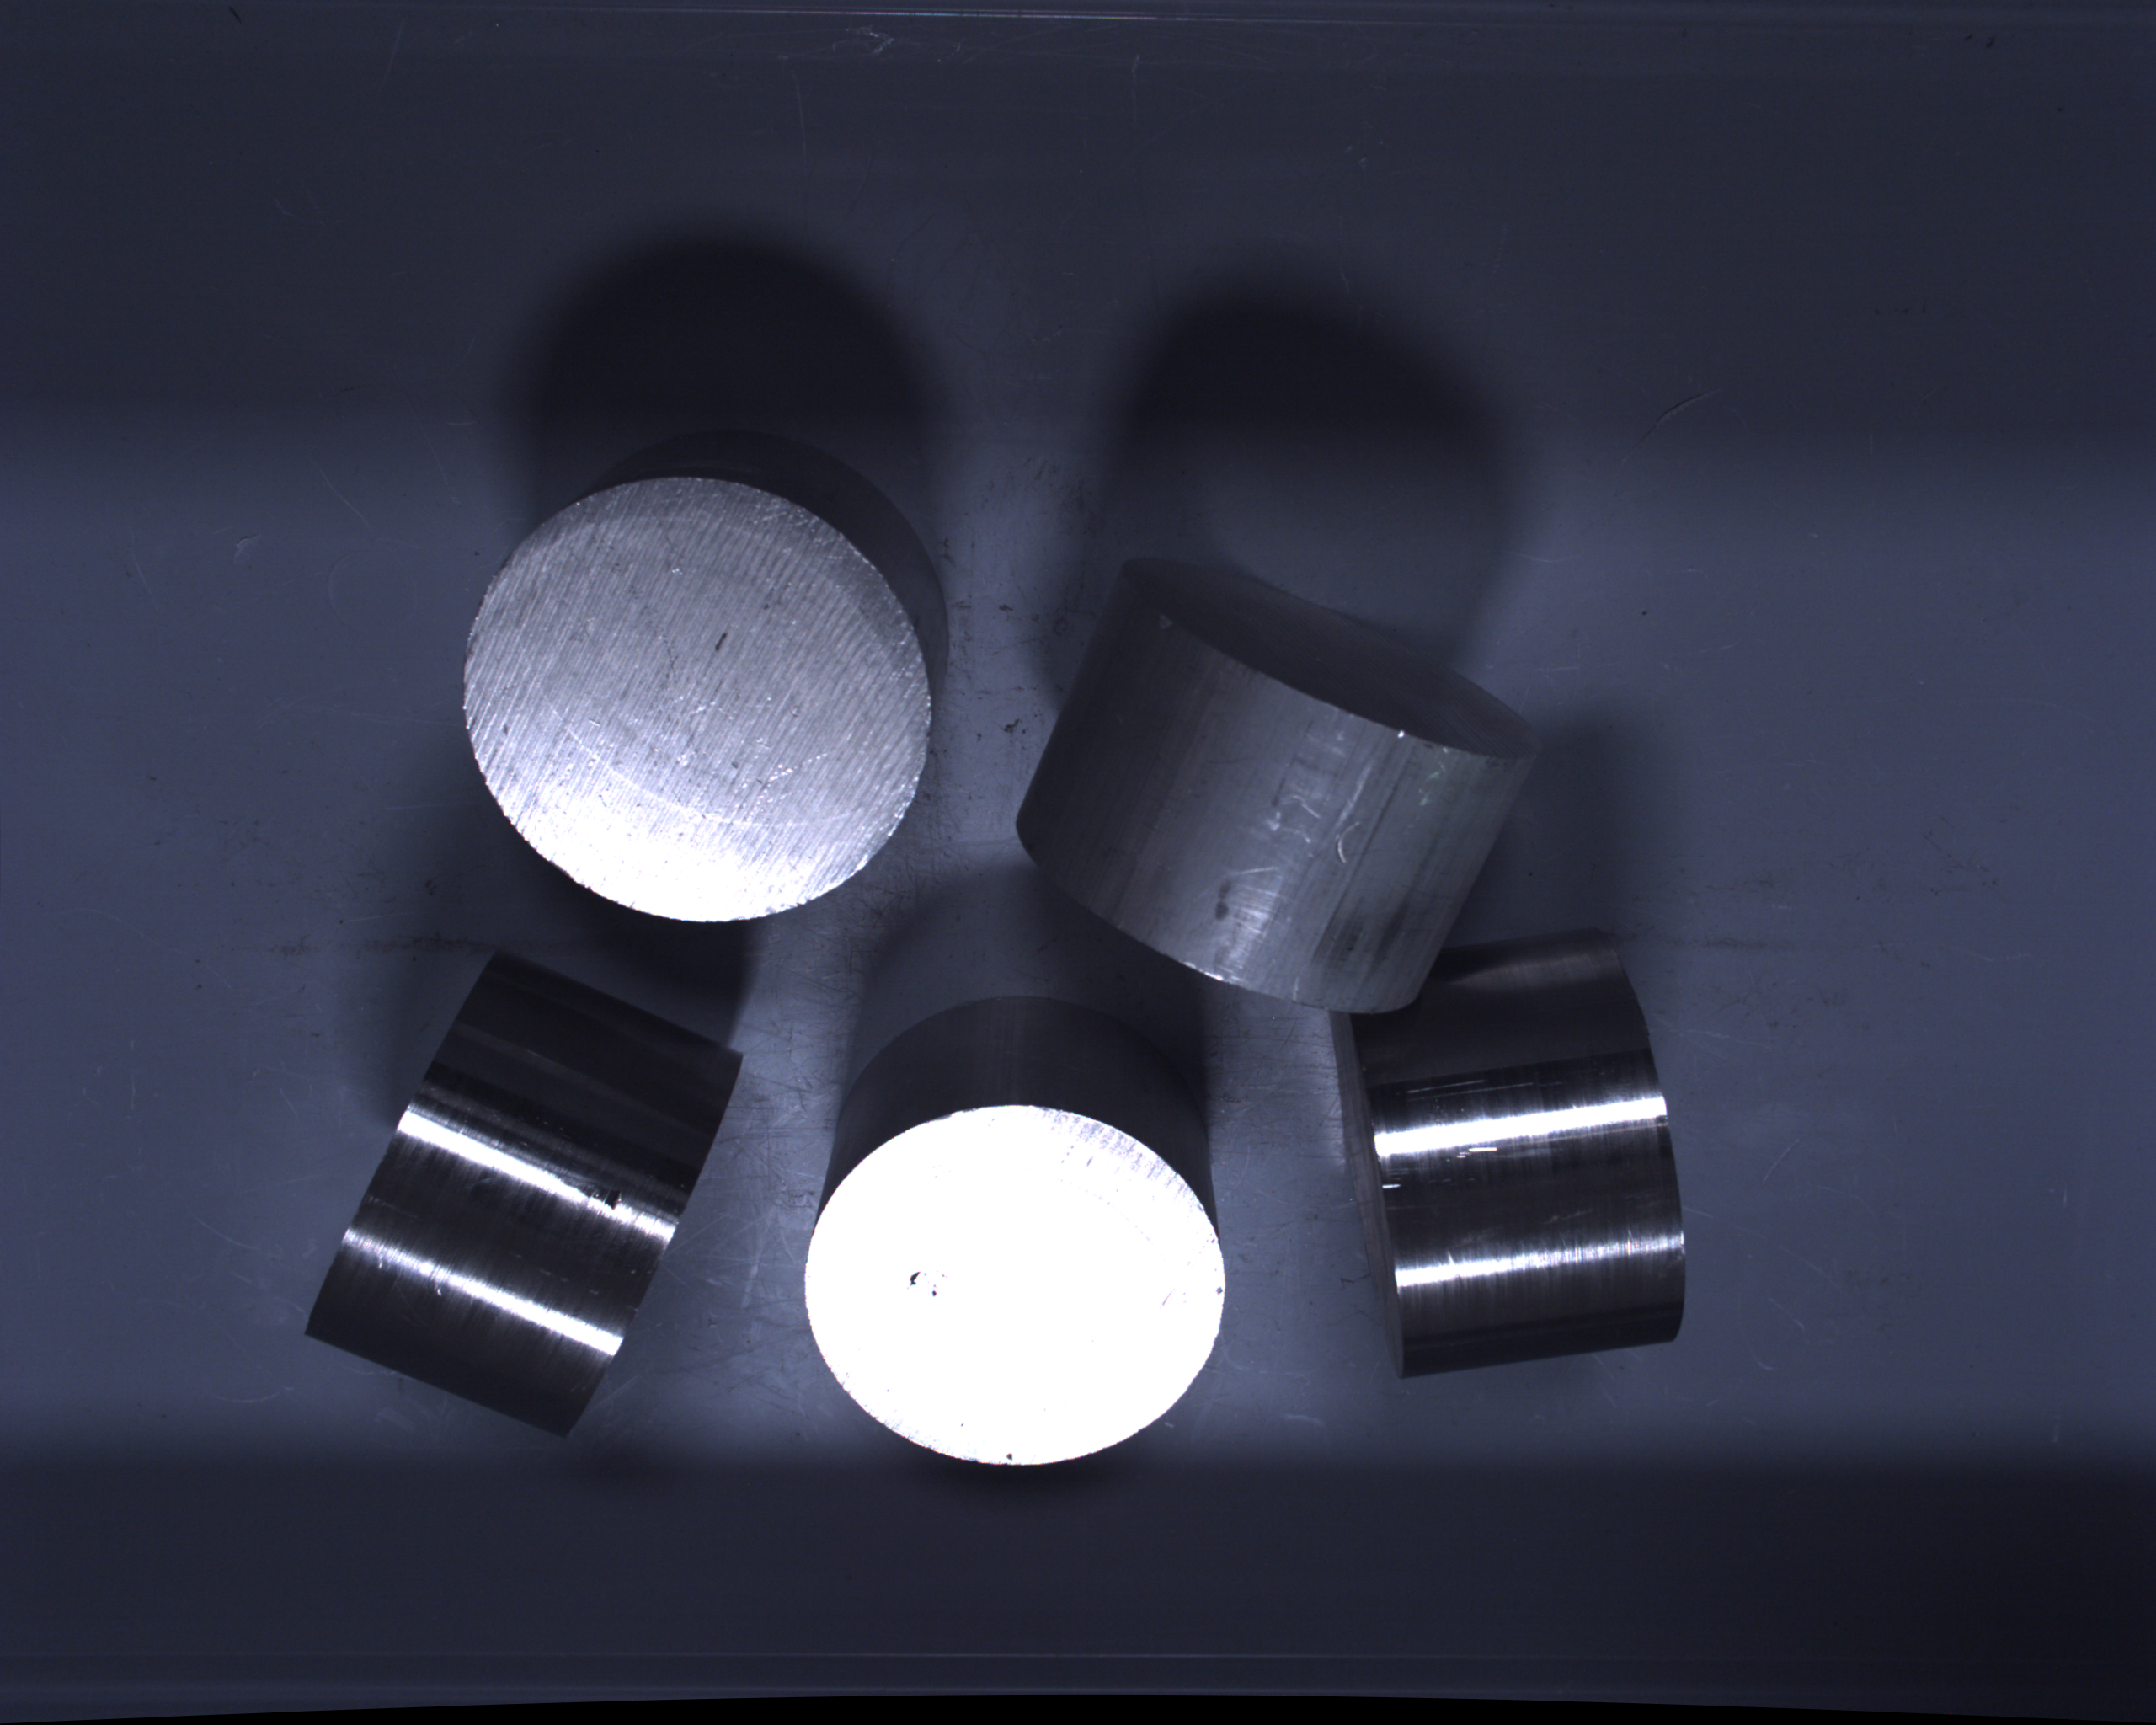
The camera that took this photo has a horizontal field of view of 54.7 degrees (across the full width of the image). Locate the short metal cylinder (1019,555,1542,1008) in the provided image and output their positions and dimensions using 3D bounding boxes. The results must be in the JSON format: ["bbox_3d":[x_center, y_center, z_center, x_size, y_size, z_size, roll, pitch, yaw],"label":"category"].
[{"bbox_3d":[0.036,-0.016,0.376,0.080,0.080,0.050,20,109,-8],"label":"short metal cylinder"}]

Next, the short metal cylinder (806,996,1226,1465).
[{"bbox_3d":[-0.012,0.074,0.423,0.081,0.050,0.079,0,110,-1],"label":"short metal cylinder"}]

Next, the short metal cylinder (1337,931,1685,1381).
[{"bbox_3d":[0.080,0.056,0.402,0.050,0.080,0.079,-8,110,3],"label":"short metal cylinder"}]

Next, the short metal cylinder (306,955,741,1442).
[{"bbox_3d":[-0.105,0.064,0.402,0.050,0.080,0.080,26,108,-10],"label":"short metal cylinder"}]

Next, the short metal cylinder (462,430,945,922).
[{"bbox_3d":[-0.066,-0.035,0.382,0.081,0.050,0.079,0,110,-1],"label":"short metal cylinder"}]
